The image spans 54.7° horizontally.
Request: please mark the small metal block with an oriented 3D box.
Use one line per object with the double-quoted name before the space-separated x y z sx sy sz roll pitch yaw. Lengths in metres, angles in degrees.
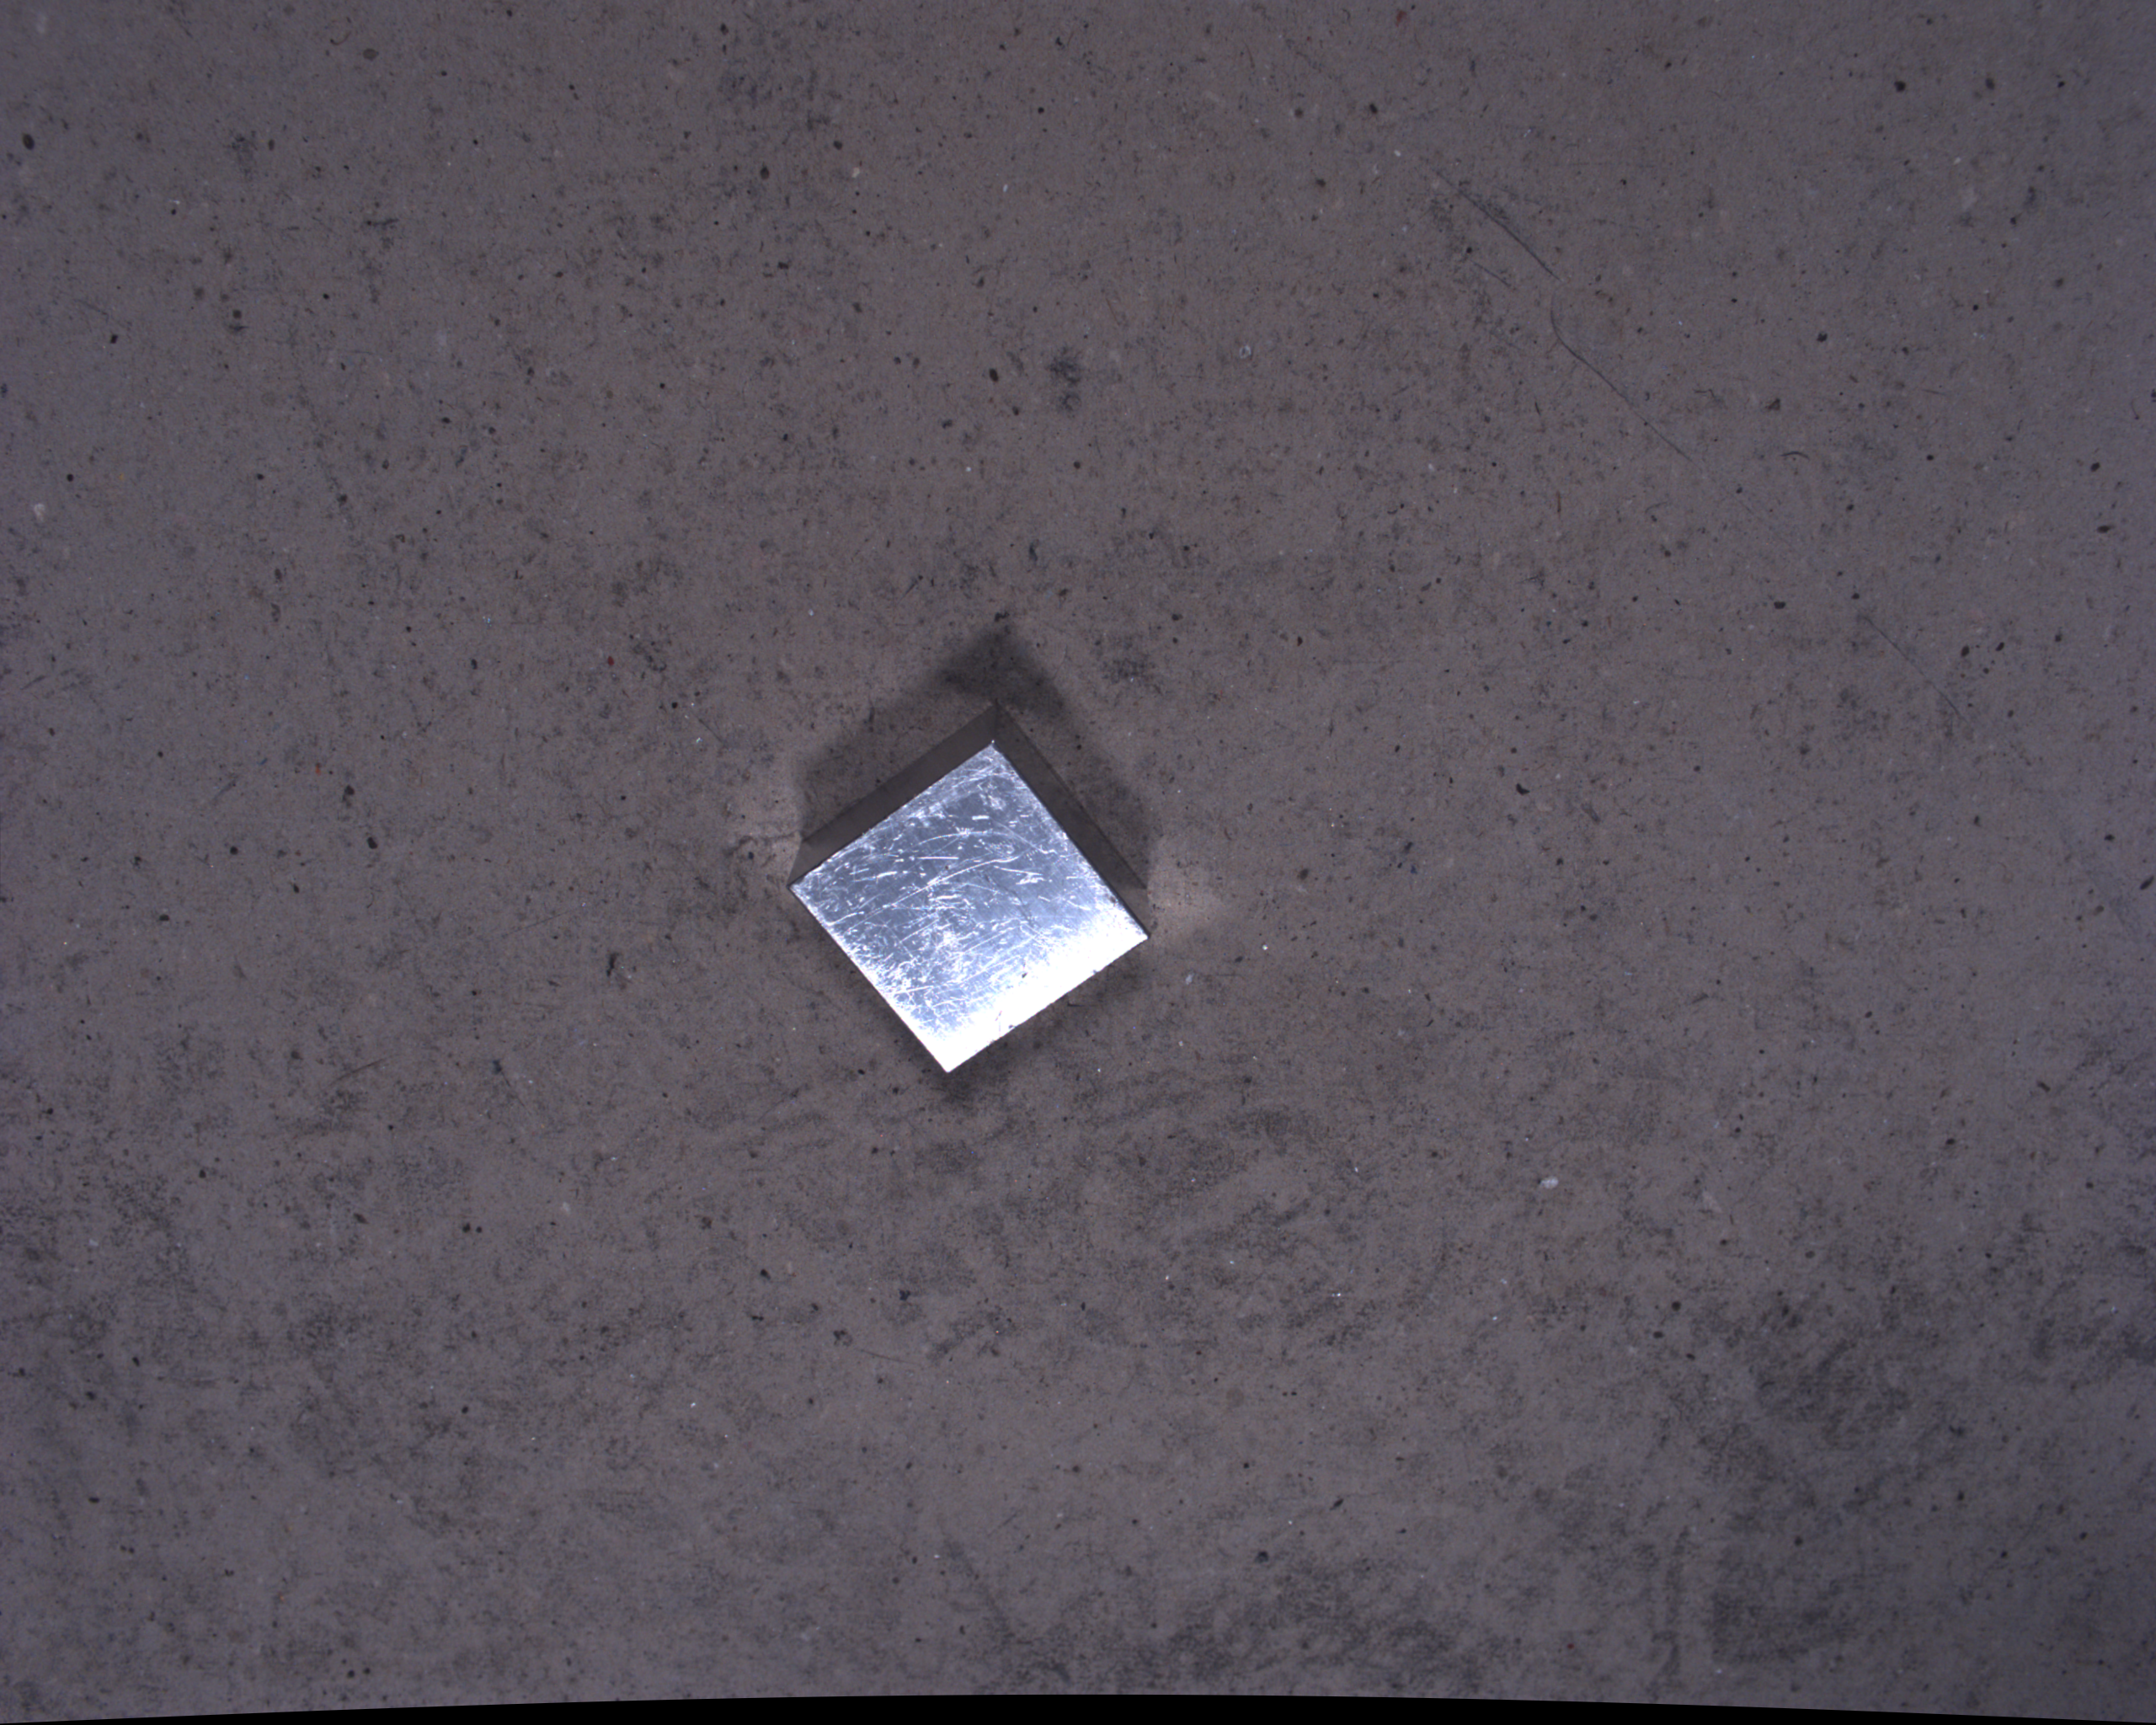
"small metal block" -0.021 0.005 0.413 0.050 0.025 0.050 -35 107 11
